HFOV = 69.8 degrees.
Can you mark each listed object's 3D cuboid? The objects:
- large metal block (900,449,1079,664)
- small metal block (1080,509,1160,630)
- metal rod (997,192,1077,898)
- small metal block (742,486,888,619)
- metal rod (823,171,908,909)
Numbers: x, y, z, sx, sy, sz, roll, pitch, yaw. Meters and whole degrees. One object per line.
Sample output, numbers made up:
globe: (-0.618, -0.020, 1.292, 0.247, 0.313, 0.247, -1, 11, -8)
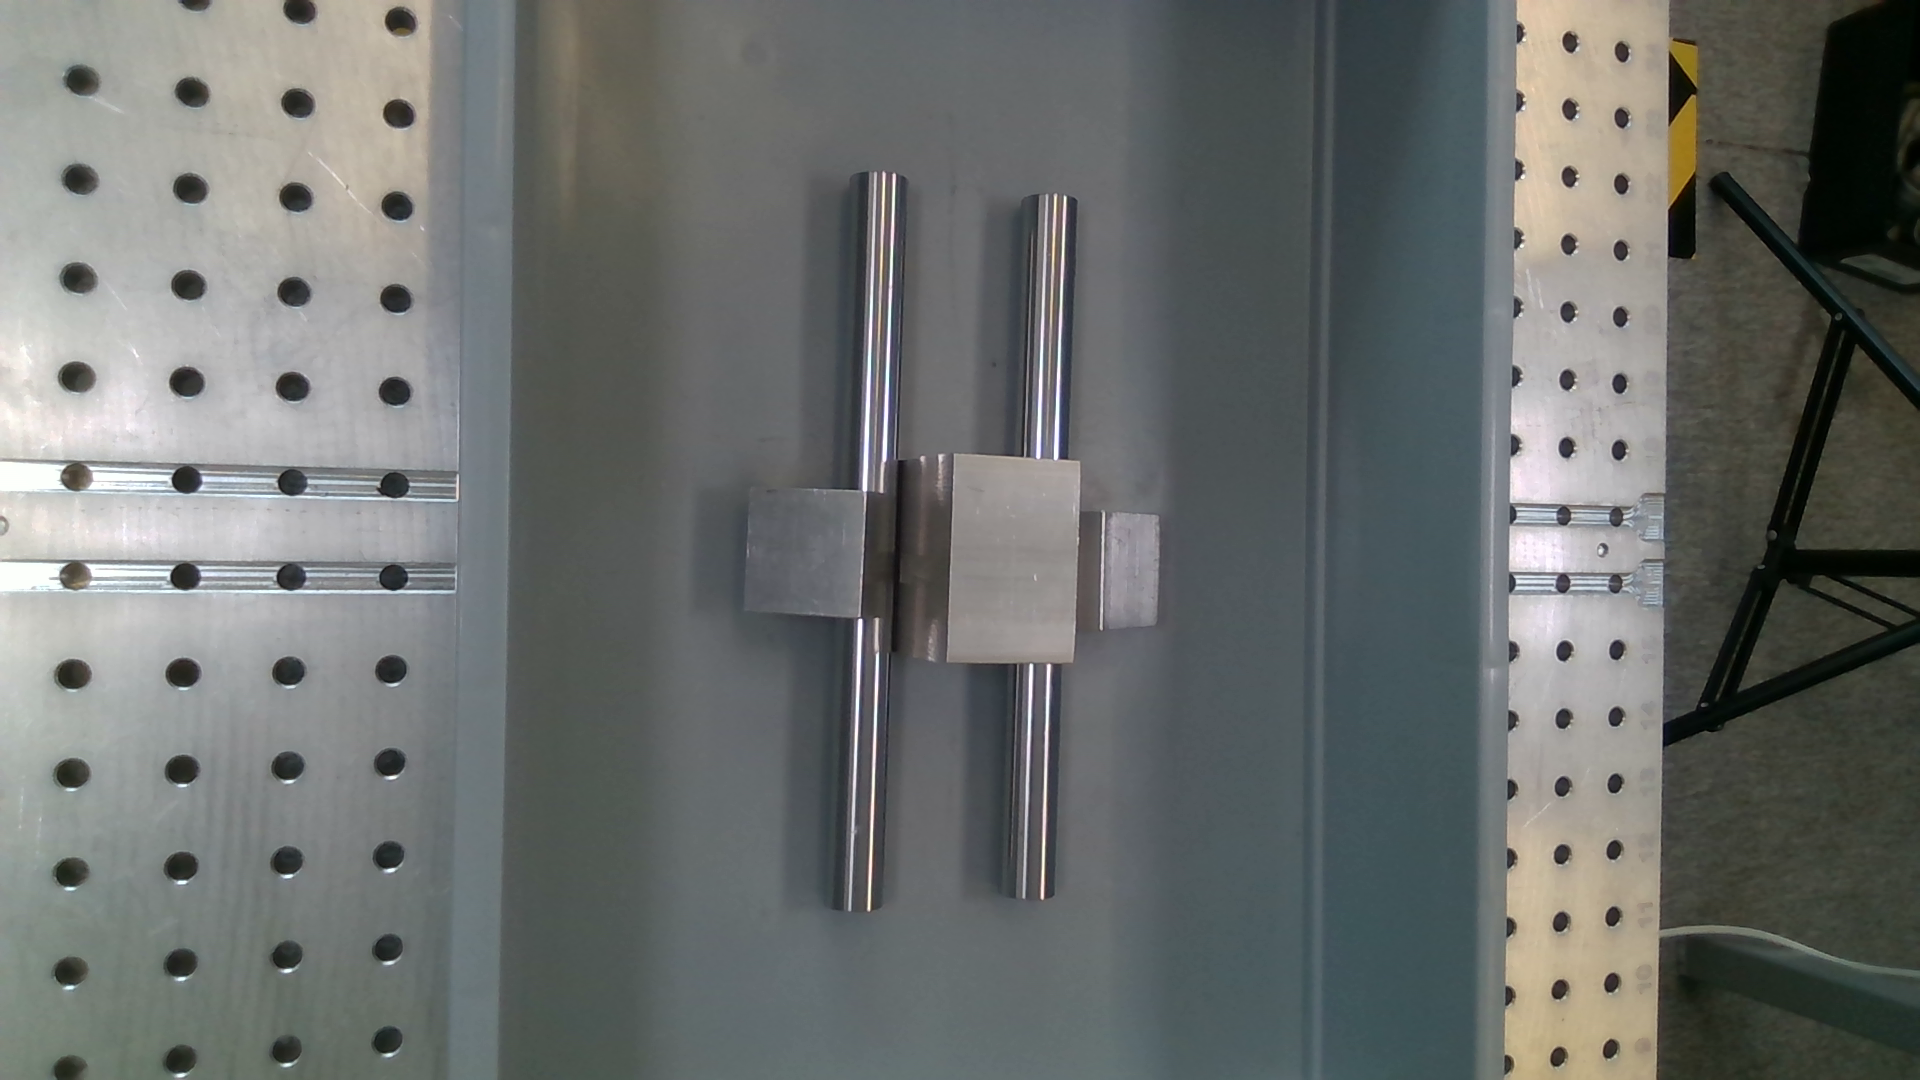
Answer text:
large metal block: (0.007, 0.007, 0.558, 0.050, 0.080, 0.080, 2, 90, -20)
small metal block: (0.064, 0.012, 0.597, 0.050, 0.025, 0.050, 1, 90, -55)
metal rod: (0.034, 0.002, 0.597, 0.025, 0.025, 0.300, 2, 90, -20)
small metal block: (-0.058, 0.005, 0.551, 0.050, 0.025, 0.050, 2, 90, 17)
metal rod: (-0.039, 0.000, 0.571, 0.025, 0.025, 0.300, 2, 90, -20)
